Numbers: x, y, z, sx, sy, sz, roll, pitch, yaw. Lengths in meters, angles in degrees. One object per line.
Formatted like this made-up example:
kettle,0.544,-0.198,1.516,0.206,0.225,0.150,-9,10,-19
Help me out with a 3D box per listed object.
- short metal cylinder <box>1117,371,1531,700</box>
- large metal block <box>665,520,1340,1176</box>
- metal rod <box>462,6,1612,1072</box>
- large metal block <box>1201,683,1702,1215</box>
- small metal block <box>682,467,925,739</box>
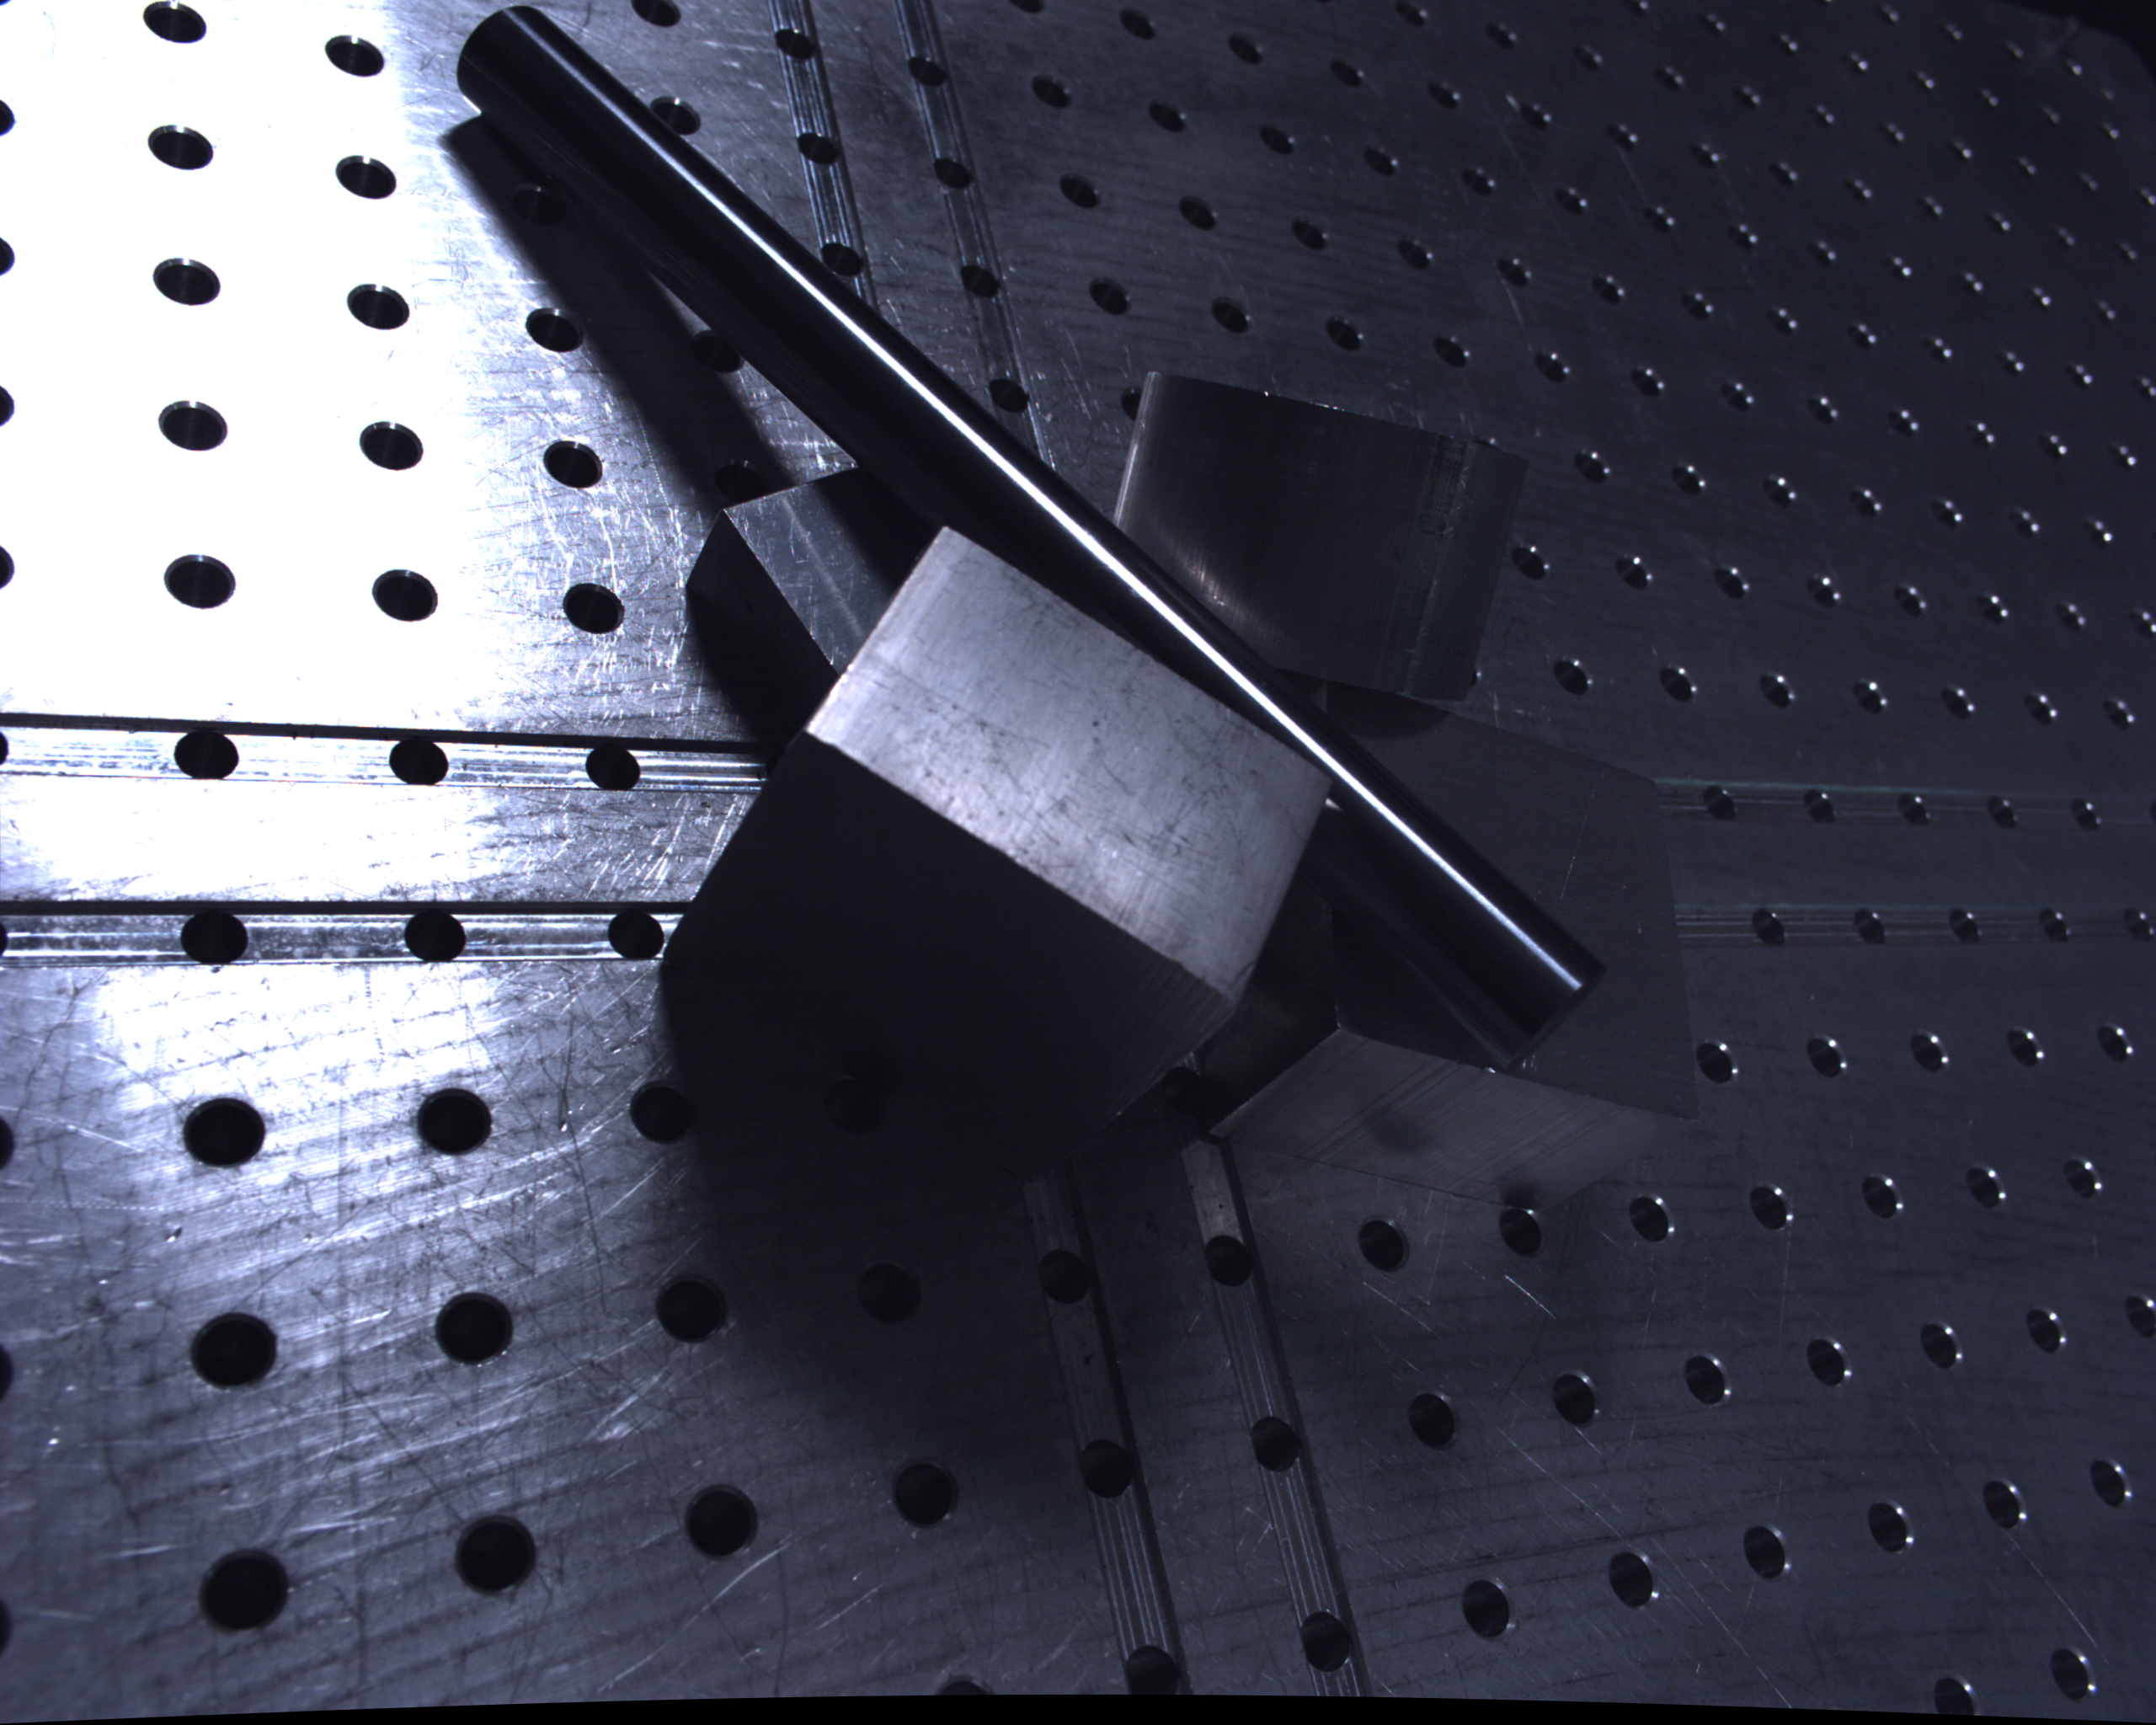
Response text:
short metal cylinder,0.048,-0.068,0.433,0.081,0.080,0.050,8,102,-24
large metal block,-0.015,0.001,0.365,0.080,0.080,0.050,32,51,-8
metal rod,-0.019,-0.073,0.405,0.300,0.025,0.025,44,50,17
large metal block,0.073,0.018,0.422,0.081,0.050,0.080,16,55,-19
small metal block,-0.042,-0.051,0.418,0.050,0.025,0.050,-27,77,-37
